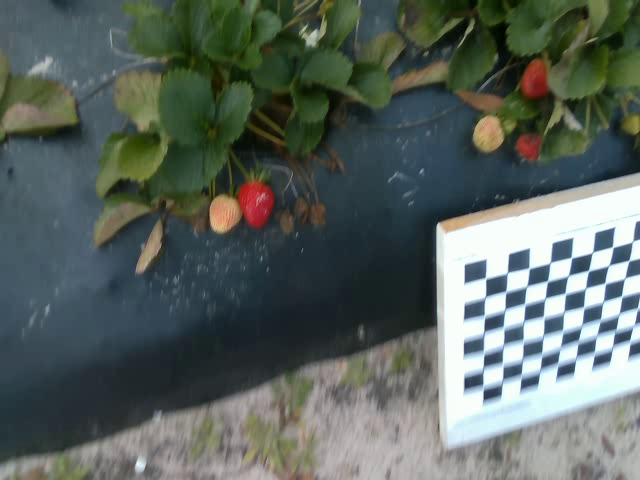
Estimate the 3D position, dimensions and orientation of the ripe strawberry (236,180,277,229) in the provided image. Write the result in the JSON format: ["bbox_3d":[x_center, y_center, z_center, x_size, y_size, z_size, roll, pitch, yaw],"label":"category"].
[{"bbox_3d":[-0.051,-0.030,0.542,0.034,0.042,0.033,17,-40,-24],"label":"ripe strawberry"}]
